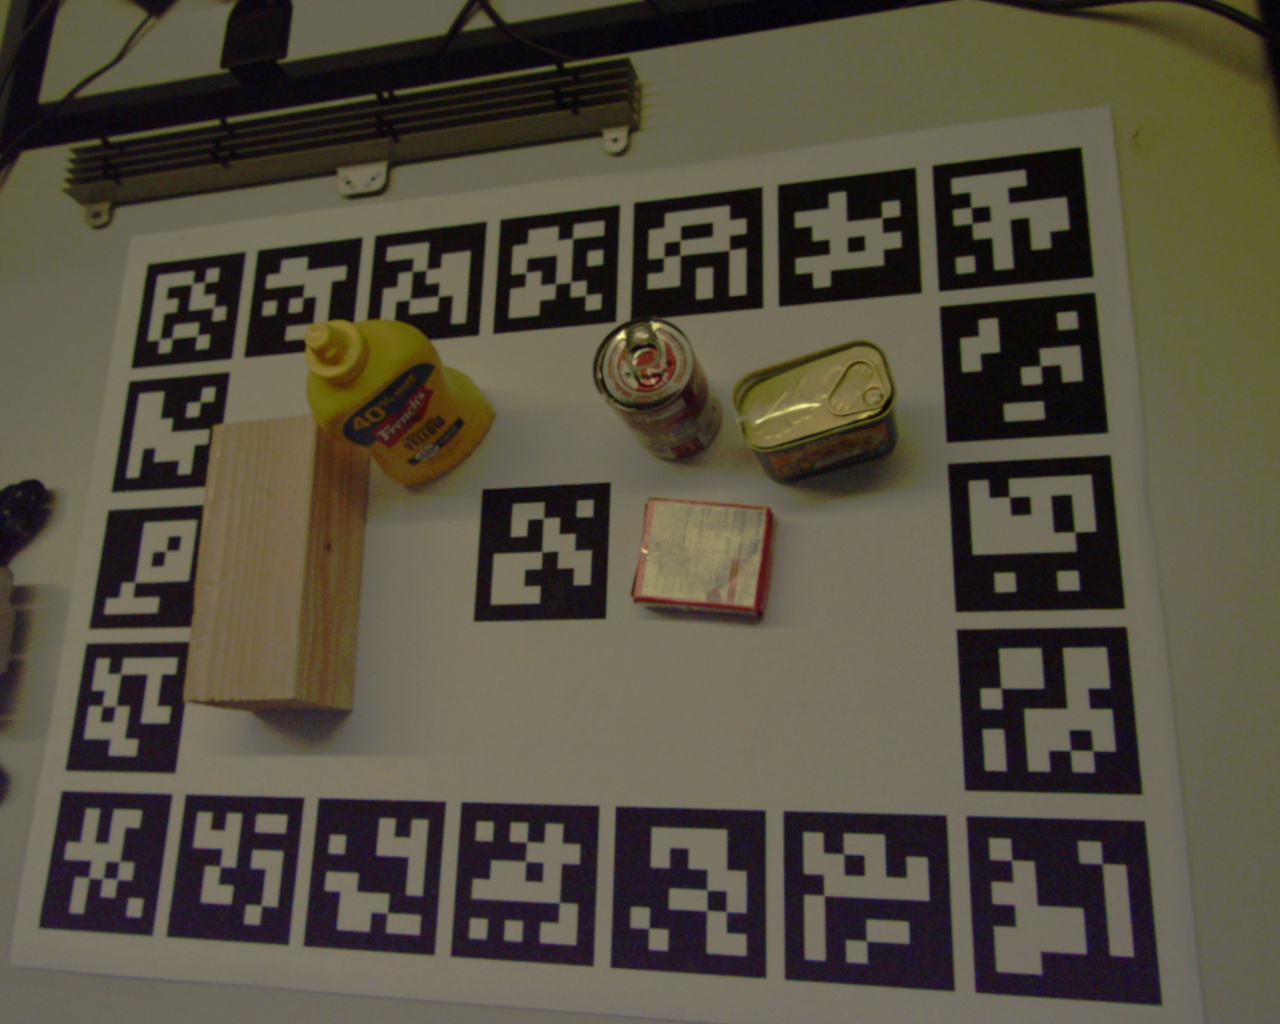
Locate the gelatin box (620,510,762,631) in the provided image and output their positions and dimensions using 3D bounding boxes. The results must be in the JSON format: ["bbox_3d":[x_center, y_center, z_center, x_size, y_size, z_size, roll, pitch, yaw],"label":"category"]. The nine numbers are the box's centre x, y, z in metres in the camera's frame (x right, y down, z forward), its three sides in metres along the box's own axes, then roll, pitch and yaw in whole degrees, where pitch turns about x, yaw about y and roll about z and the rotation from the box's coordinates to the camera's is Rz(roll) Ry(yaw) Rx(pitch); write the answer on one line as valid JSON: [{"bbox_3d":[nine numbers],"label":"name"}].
[{"bbox_3d":[0.037,0.041,0.812,0.090,0.030,0.073,7,79,21],"label":"gelatin box"}]

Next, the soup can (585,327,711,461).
[{"bbox_3d":[0.009,-0.081,0.812,0.068,0.101,0.068,-4,75,15],"label":"soup can"}]

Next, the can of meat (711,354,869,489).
[{"bbox_3d":[0.107,-0.060,0.796,0.102,0.083,0.058,-16,72,9],"label":"can of meat"}]

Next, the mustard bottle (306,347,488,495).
[{"bbox_3d":[-0.187,-0.072,0.834,0.096,0.190,0.059,-28,69,5],"label":"mustard bottle"}]

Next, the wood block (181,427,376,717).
[{"bbox_3d":[-0.273,0.047,0.875,0.091,0.089,0.206,-2,70,14],"label":"wood block"}]
